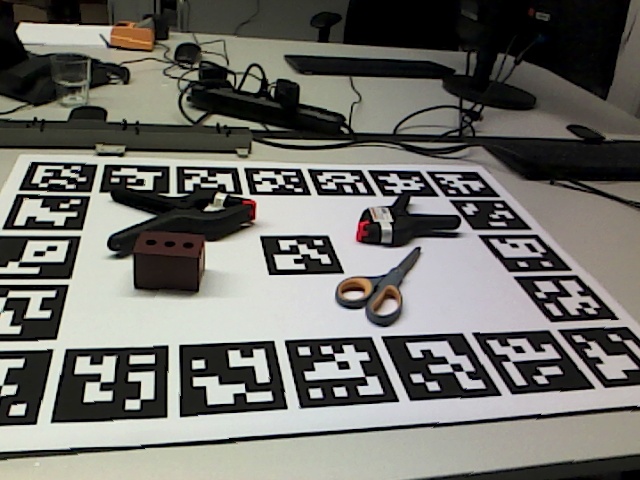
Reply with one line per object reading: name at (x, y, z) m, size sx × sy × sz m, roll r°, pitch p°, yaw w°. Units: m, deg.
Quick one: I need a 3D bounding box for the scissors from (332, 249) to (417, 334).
scissors at (0.089, 0.054, 0.818) m, size 0.088 × 0.016 × 0.202 m, roll 27°, pitch 34°, yaw 16°

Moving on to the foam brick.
foam brick at (-0.187, 0.035, 0.766) m, size 0.078 × 0.051 × 0.053 m, roll 0°, pitch 33°, yaw -3°

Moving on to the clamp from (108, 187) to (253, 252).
clamp at (-0.197, -0.034, 0.886) m, size 0.202 × 0.036 × 0.166 m, roll -2°, pitch 30°, yaw -16°

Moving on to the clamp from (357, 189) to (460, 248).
clamp at (0.122, -0.027, 0.950) m, size 0.164 × 0.036 × 0.122 m, roll -19°, pitch 47°, yaw -35°
